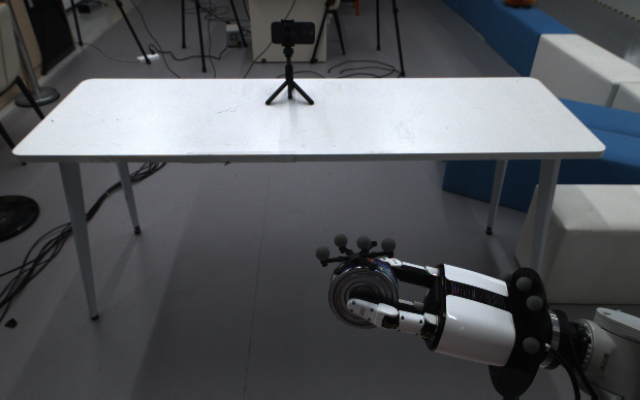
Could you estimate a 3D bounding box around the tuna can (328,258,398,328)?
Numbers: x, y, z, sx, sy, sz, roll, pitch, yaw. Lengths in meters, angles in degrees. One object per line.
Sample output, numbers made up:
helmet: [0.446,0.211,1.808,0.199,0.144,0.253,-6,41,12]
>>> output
tuna can: [0.056,0.112,0.594,0.085,0.085,0.034,6,18,5]
